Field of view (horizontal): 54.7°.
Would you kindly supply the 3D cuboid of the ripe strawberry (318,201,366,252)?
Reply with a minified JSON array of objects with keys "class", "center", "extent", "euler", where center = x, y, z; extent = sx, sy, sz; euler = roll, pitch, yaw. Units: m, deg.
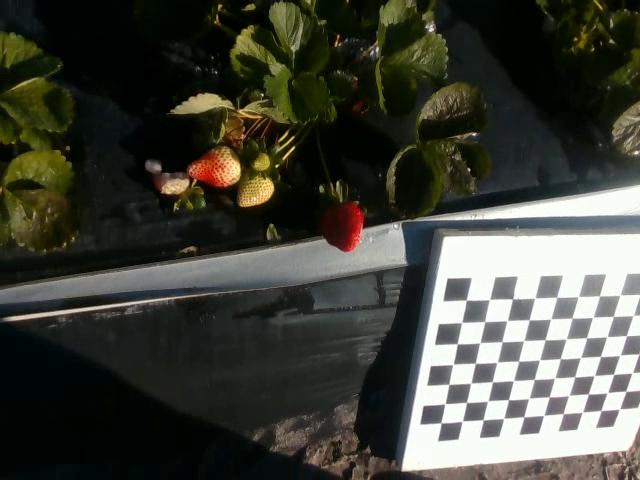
[{"class":"ripe strawberry","center":[0.015,-0.006,0.425],"extent":[0.036,0.038,0.046],"euler":[-1,38,-10]}]
